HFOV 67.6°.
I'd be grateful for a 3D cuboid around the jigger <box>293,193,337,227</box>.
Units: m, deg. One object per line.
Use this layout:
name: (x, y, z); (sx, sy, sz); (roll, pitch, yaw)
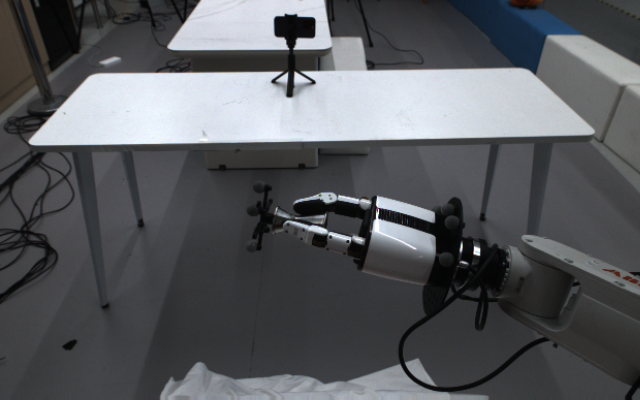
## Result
jigger: (-0.019, 0.029, 0.646); (0.071, 0.043, 0.043); (8, 35, 4)
